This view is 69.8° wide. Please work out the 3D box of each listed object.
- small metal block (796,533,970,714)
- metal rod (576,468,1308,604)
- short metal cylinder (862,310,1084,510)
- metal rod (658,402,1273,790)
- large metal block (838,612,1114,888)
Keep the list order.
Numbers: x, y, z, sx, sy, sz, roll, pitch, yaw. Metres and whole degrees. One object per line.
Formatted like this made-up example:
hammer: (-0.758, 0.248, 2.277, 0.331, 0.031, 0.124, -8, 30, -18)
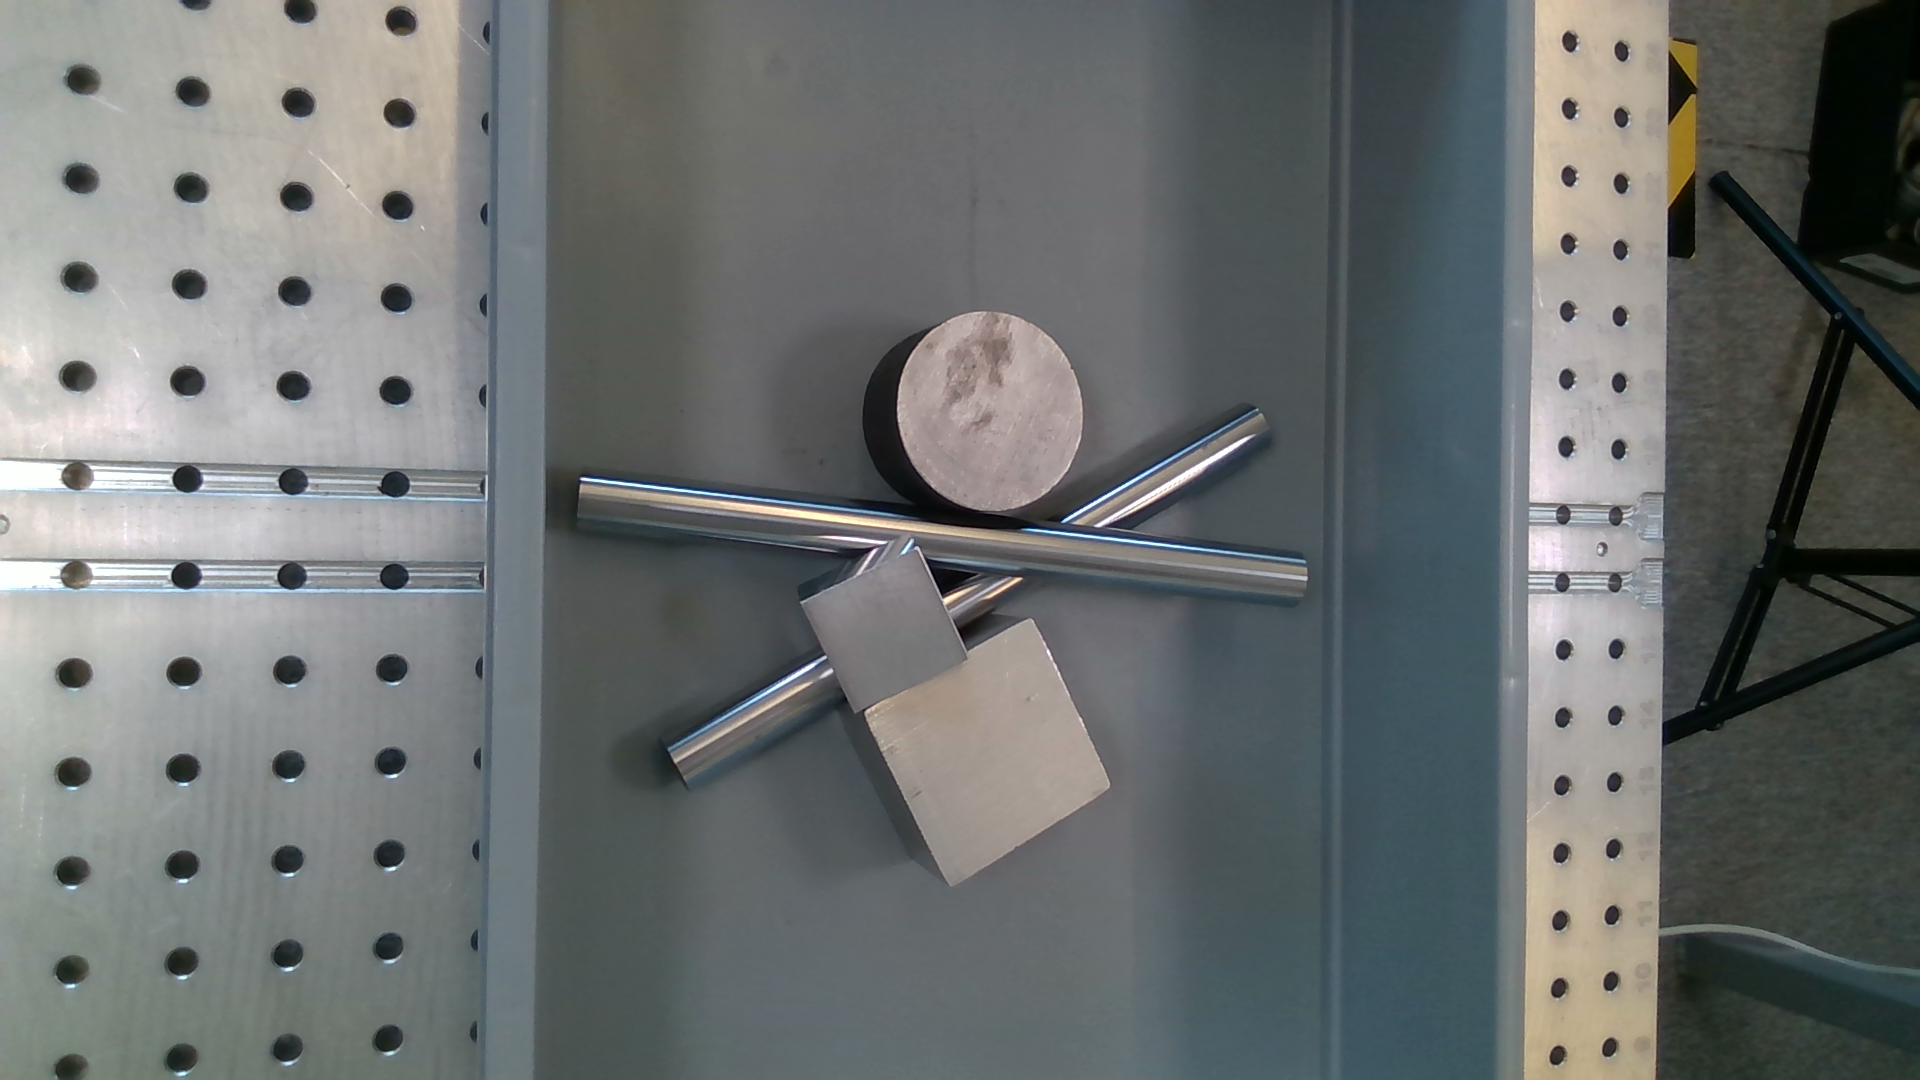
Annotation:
small metal block: (-0.031, 0.032, 0.540, 0.050, 0.025, 0.050, -25, 107, -3)
metal rod: (-0.001, 0.000, 0.564, 0.300, 0.025, 0.025, 6, 88, -12)
short metal cylinder: (0.005, -0.052, 0.573, 0.080, 0.050, 0.080, 0, 91, -20)
metal rod: (0.011, 0.018, 0.589, 0.300, 0.025, 0.025, -30, 100, -17)
large metal block: (0.005, 0.084, 0.573, 0.080, 0.050, 0.080, -29, 100, -18)
